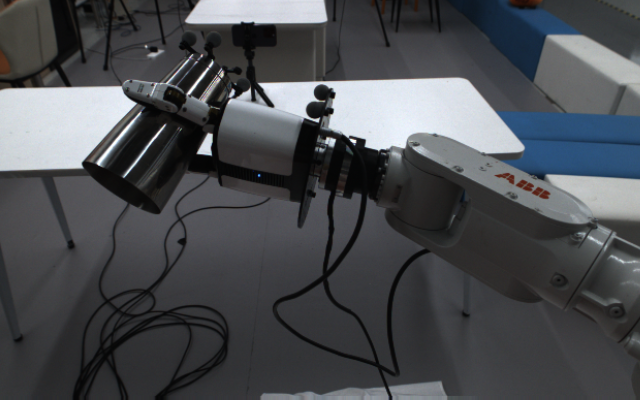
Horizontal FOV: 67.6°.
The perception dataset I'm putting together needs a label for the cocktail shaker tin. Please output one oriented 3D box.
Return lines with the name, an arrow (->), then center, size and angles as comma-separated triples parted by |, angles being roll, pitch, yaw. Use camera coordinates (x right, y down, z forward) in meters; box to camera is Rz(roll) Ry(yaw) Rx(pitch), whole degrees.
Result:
cocktail shaker tin -> -0.167, -0.083, 0.535 | 0.093, 0.093, 0.170 | 18, 66, 21
